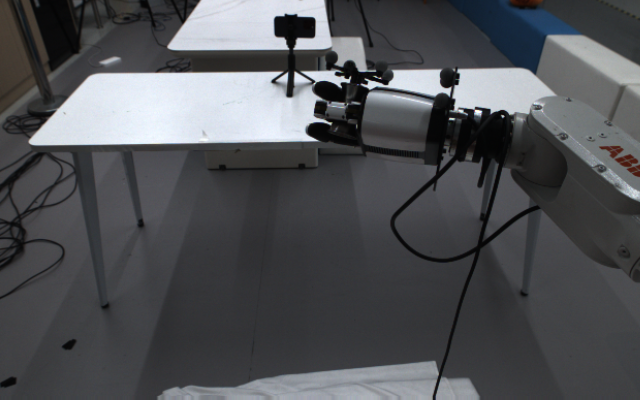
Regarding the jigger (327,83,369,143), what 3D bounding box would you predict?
[{"bbox_3d":[0.041,-0.120,0.656,0.043,0.071,0.043,14,1,0],"label":"jigger"}]
